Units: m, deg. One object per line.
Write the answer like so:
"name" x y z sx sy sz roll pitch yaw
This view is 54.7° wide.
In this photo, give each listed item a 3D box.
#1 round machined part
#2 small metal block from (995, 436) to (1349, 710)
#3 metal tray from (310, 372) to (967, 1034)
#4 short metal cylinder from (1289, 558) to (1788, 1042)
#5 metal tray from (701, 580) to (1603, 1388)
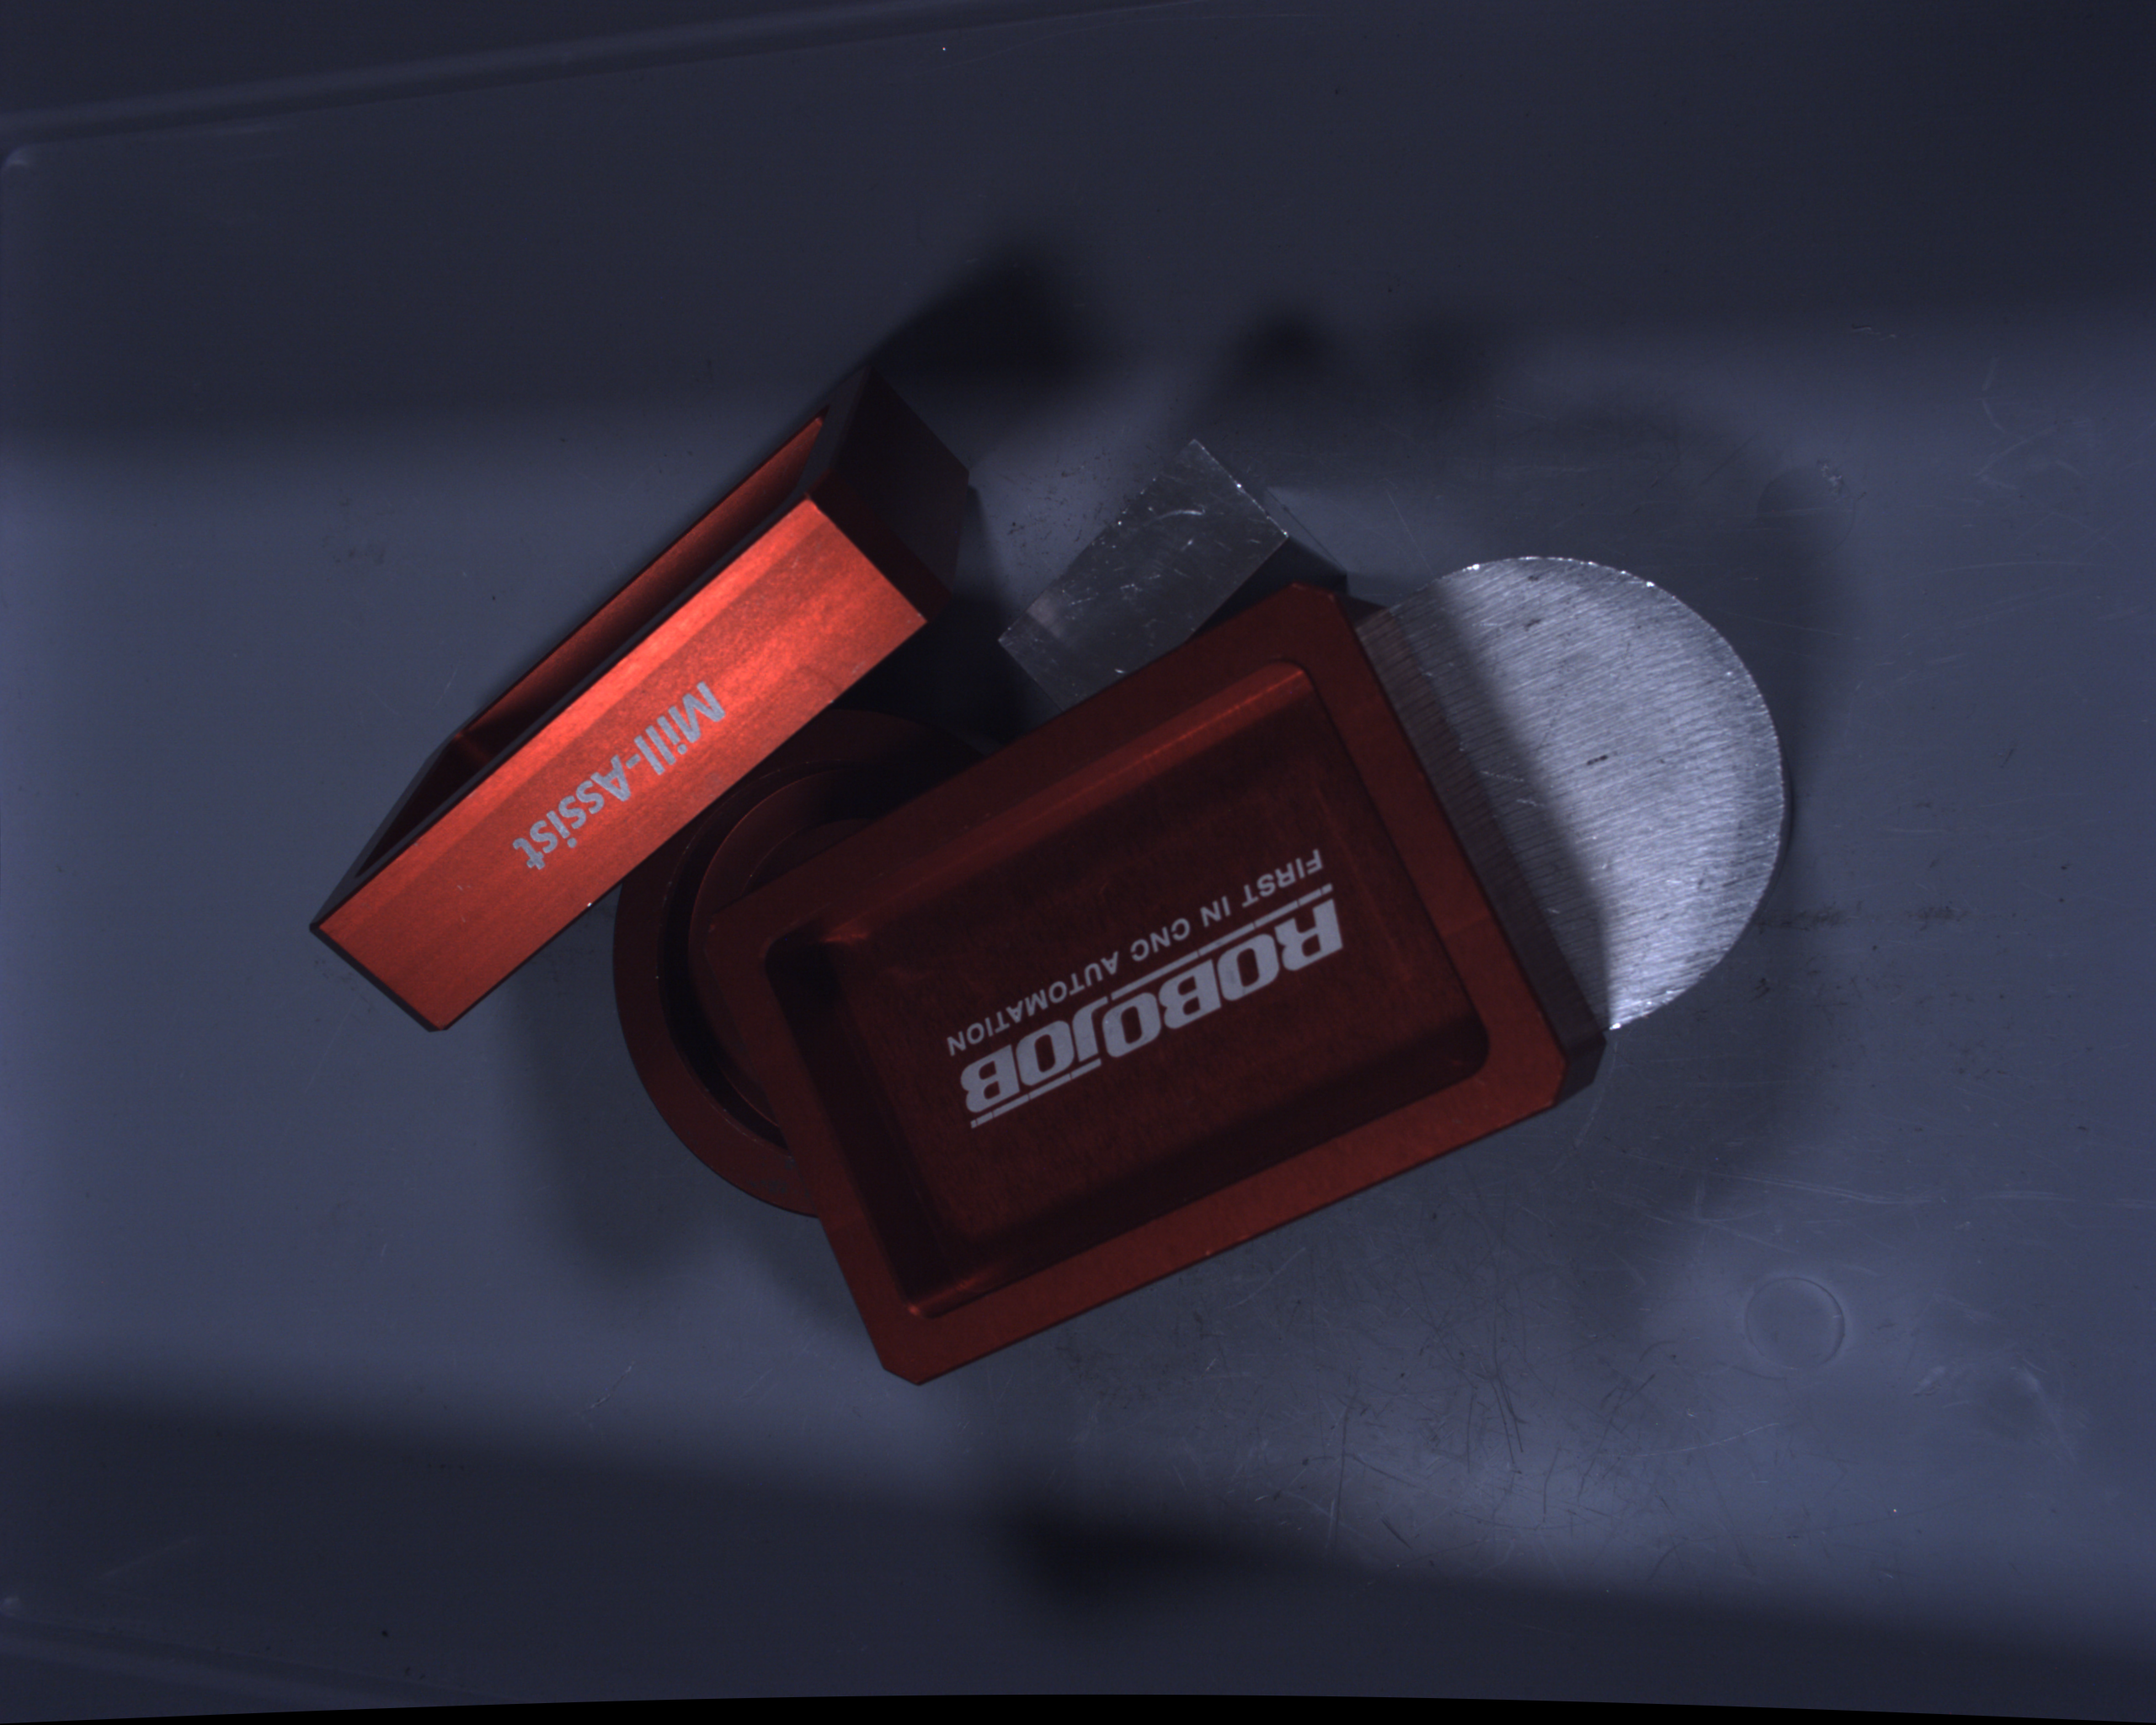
"round machined part" -0.038 0.019 0.413 0.098 0.042 0.097 0 90 19
"small metal block" 0.019 -0.048 0.388 0.050 0.050 0.025 -44 77 13
"metal tray" -0.080 -0.033 0.400 0.130 0.090 0.030 -38 110 15
"short metal cylinder" 0.082 -0.010 0.366 0.080 0.050 0.079 0 90 19
"metal tray" 0.009 0.022 0.352 0.130 0.030 0.090 -28 80 22
